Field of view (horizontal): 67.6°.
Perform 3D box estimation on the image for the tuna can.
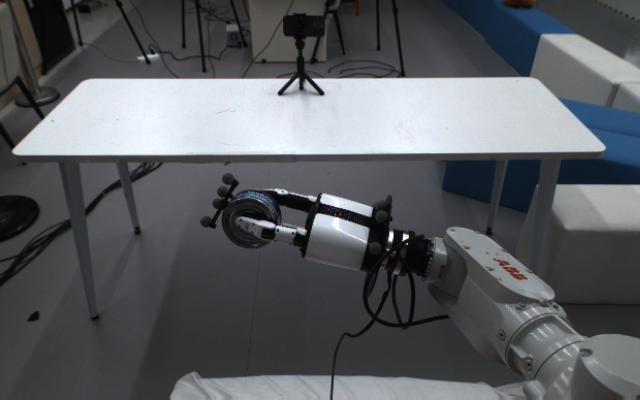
[{"bbox_3d":[-0.099,0.033,0.724,0.085,0.085,0.034,3,22,2],"label":"tuna can"}]
